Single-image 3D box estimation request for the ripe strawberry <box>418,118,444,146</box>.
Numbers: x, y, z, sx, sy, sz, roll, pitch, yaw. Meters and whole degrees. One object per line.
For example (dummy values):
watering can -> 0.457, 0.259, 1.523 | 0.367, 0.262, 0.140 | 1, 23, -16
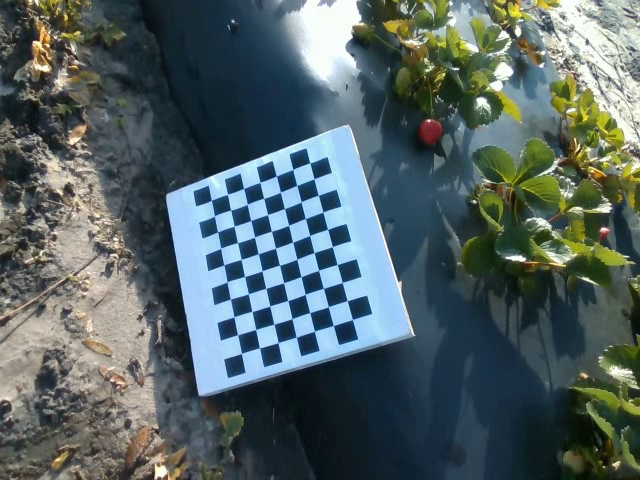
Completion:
ripe strawberry -> 0.139, -0.132, 0.788 | 0.030, 0.033, 0.045 | 8, 43, 23
